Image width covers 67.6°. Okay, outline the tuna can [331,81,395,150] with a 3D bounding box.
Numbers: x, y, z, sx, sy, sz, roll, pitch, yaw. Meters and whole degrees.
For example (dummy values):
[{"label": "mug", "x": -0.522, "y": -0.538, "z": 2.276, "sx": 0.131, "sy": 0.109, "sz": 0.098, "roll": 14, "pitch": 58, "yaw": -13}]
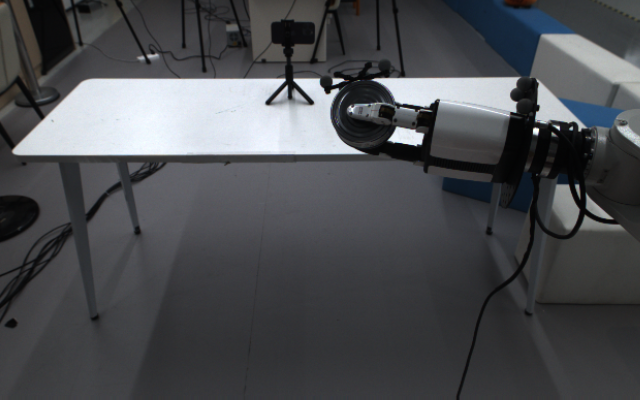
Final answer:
[{"label": "tuna can", "x": 0.061, "y": -0.106, "z": 0.627, "sx": 0.085, "sy": 0.085, "sz": 0.034, "roll": 12, "pitch": -6, "yaw": 15}]
